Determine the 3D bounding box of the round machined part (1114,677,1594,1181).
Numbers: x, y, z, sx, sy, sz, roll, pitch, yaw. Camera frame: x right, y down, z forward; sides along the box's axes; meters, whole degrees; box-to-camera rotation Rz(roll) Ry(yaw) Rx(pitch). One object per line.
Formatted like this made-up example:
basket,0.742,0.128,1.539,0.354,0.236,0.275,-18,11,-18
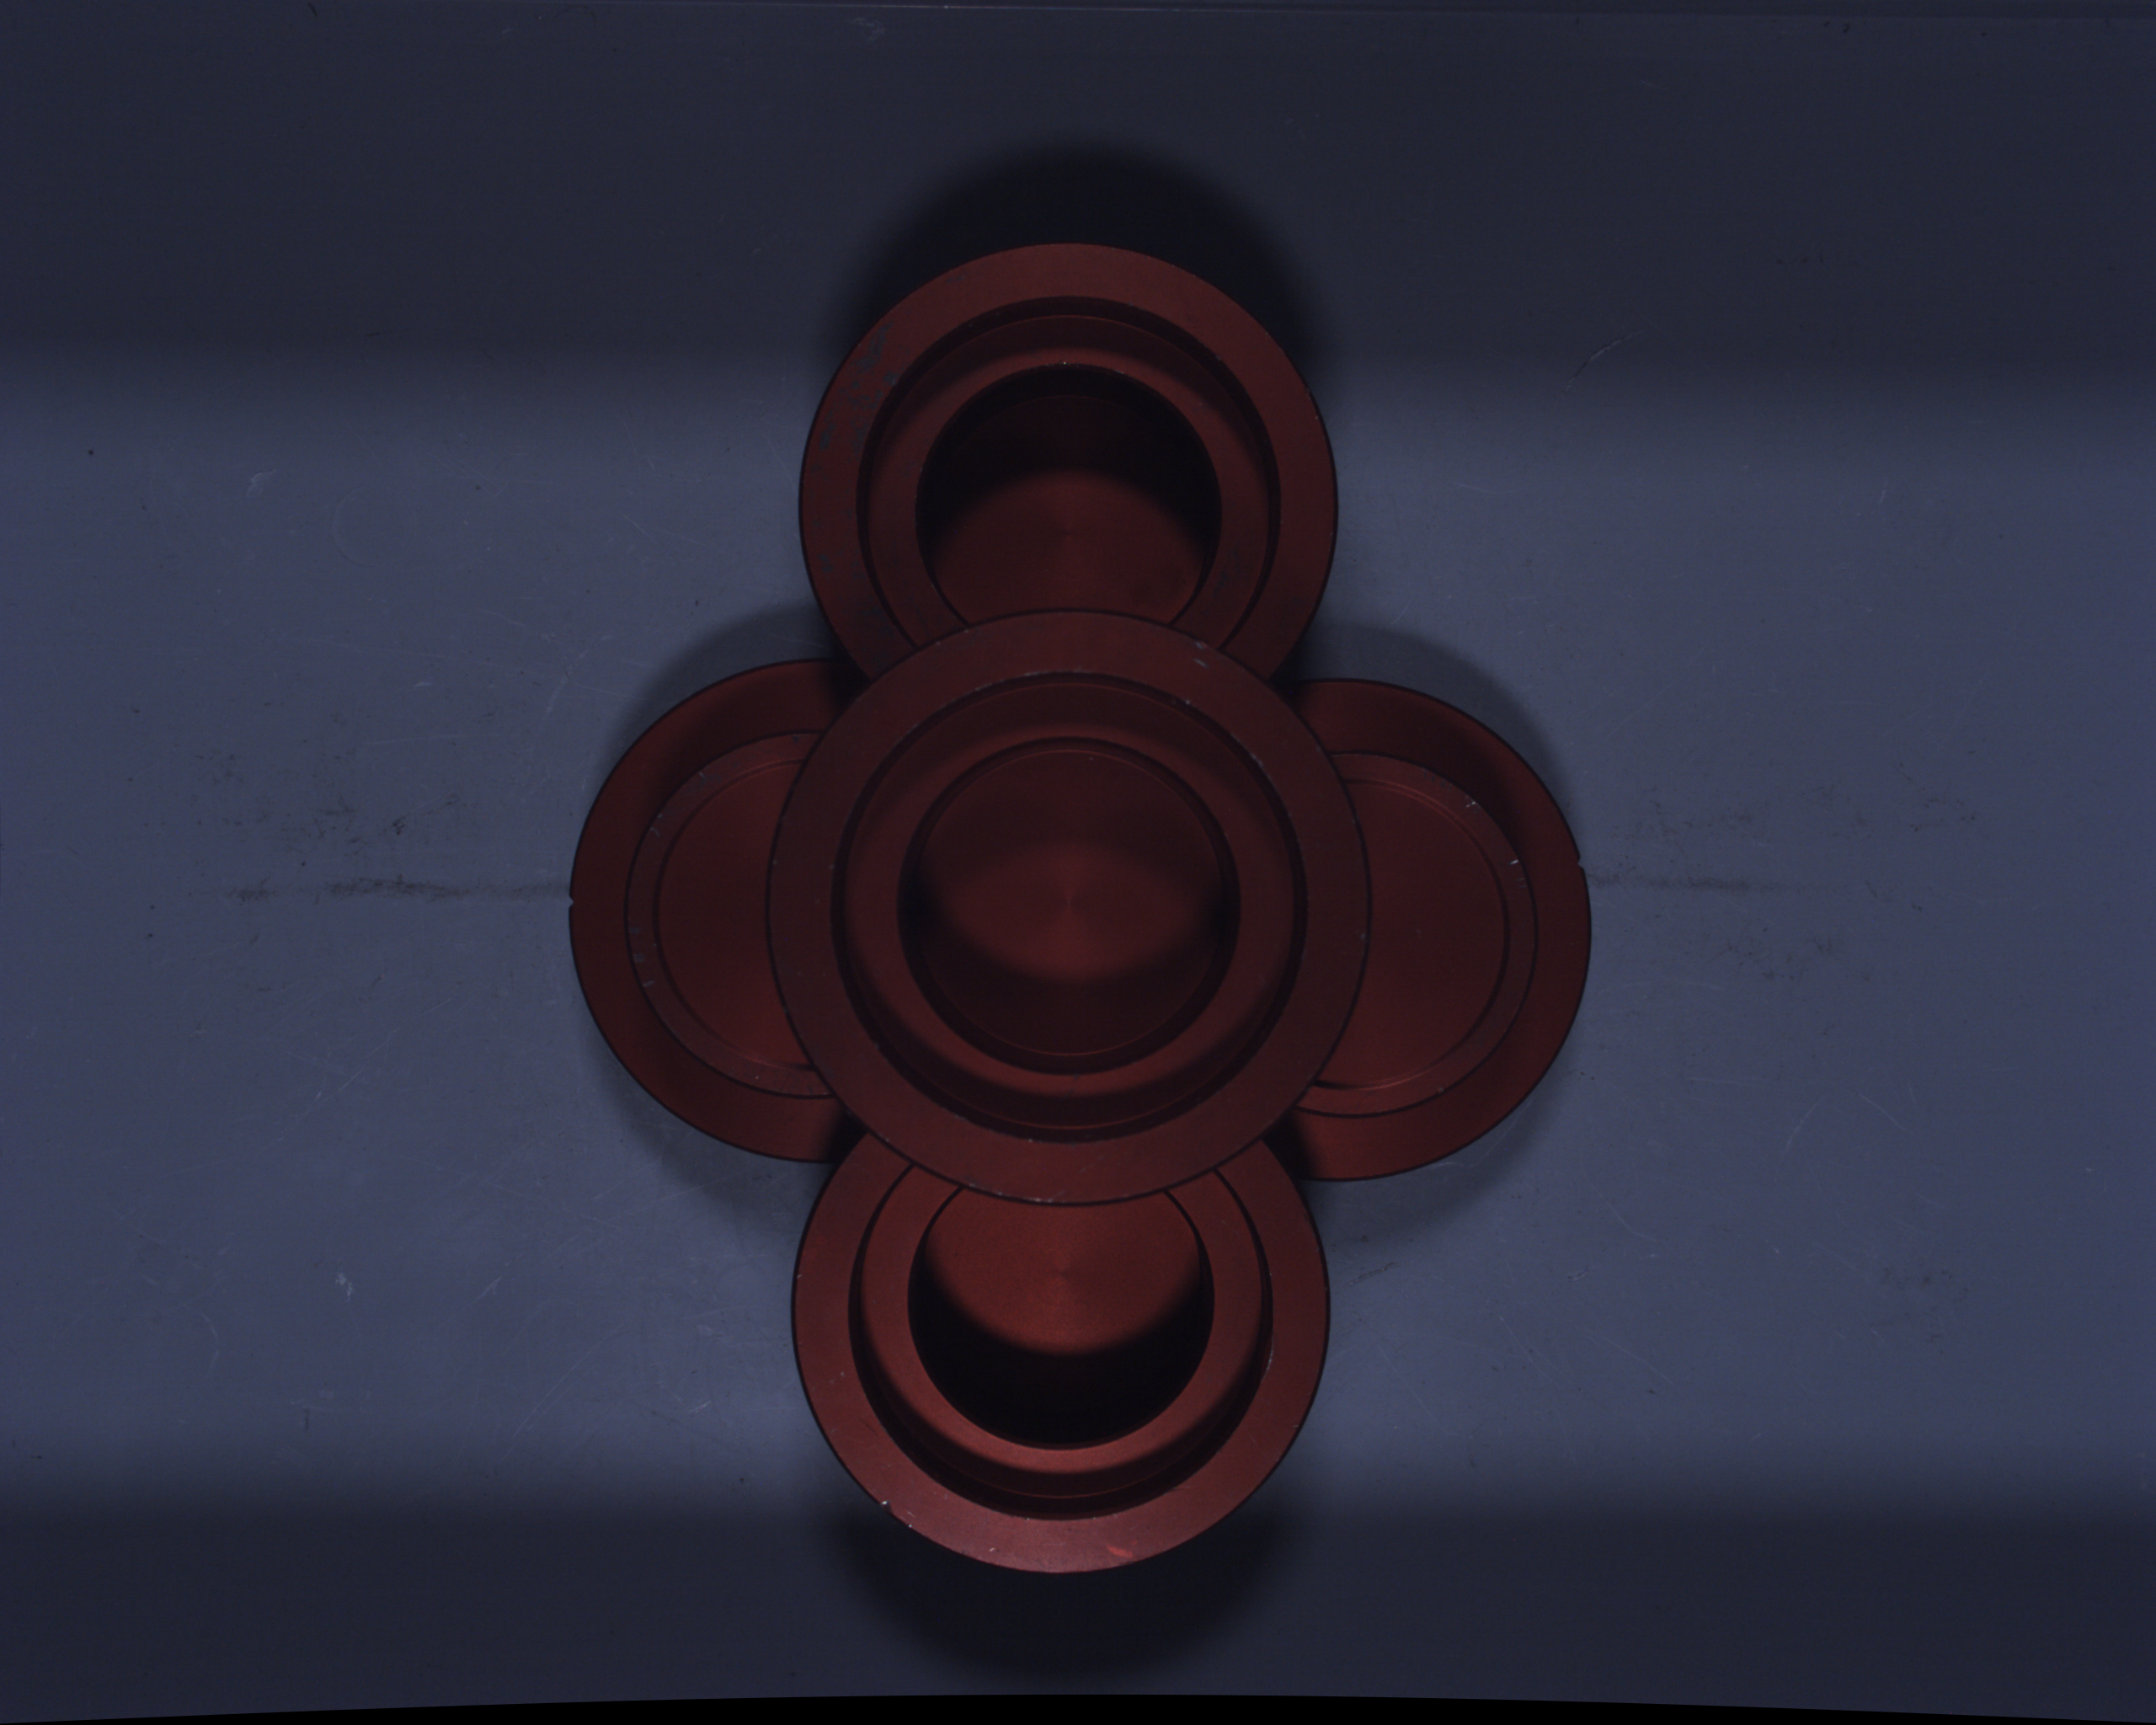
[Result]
round machined part,0.051,0.013,0.401,0.099,0.042,0.097,0,90,-1

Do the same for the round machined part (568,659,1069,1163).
round machined part,-0.049,0.009,0.400,0.099,0.042,0.097,0,90,-1

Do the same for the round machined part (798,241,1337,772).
round machined part,-0.002,-0.065,0.401,0.099,0.042,0.097,0,90,-1

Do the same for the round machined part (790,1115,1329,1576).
round machined part,-0.003,0.082,0.401,0.099,0.042,0.097,0,90,-1

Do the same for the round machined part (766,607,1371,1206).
round machined part,-0.002,0.007,0.359,0.099,0.042,0.097,0,90,-1
